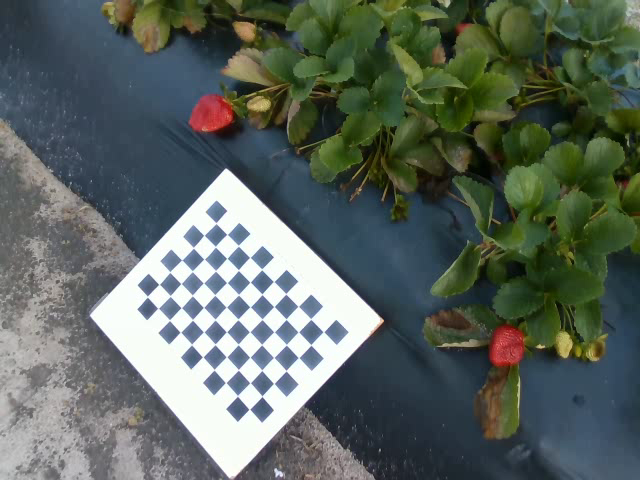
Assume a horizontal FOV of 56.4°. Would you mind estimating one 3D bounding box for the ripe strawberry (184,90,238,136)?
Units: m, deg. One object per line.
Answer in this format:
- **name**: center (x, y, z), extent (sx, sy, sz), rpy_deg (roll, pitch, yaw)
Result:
- **ripe strawberry**: center (-0.169, -0.190, 0.894), extent (0.074, 0.067, 0.039), rpy_deg (-43, -16, 1)
